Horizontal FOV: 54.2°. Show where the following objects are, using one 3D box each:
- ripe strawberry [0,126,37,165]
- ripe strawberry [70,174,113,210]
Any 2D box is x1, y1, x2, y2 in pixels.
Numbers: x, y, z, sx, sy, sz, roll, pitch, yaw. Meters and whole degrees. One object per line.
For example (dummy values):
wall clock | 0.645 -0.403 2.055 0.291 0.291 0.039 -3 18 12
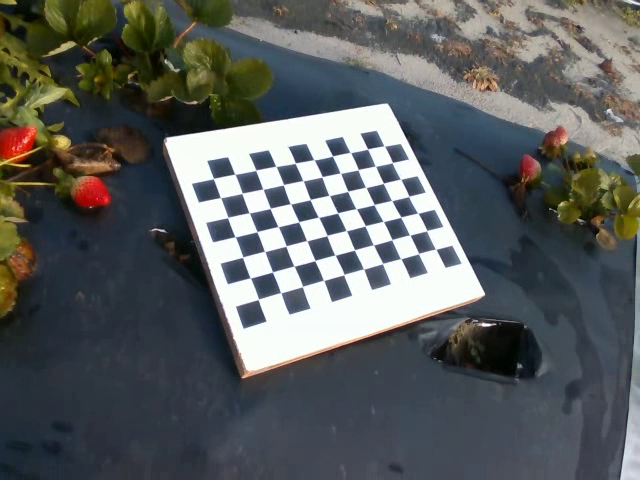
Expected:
ripe strawberry | -0.294 -0.098 0.599 0.048 0.040 0.031 -39 -14 11
ripe strawberry | -0.221 -0.045 0.599 0.043 0.035 0.030 32 -33 4
